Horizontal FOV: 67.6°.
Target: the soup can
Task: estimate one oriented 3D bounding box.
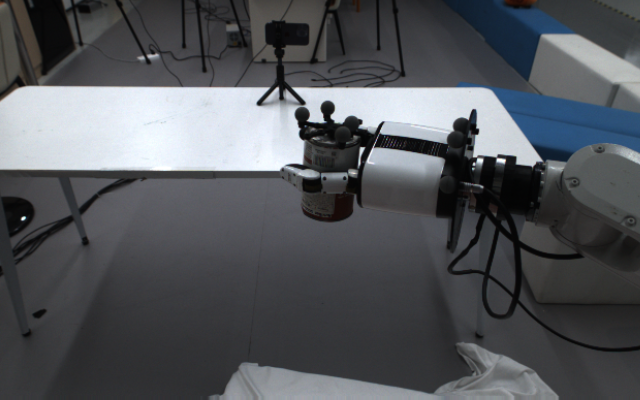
[{"bbox_3d":[0.013,-0.034,0.585,0.067,0.101,0.067,4,30,-2],"label":"soup can"}]
